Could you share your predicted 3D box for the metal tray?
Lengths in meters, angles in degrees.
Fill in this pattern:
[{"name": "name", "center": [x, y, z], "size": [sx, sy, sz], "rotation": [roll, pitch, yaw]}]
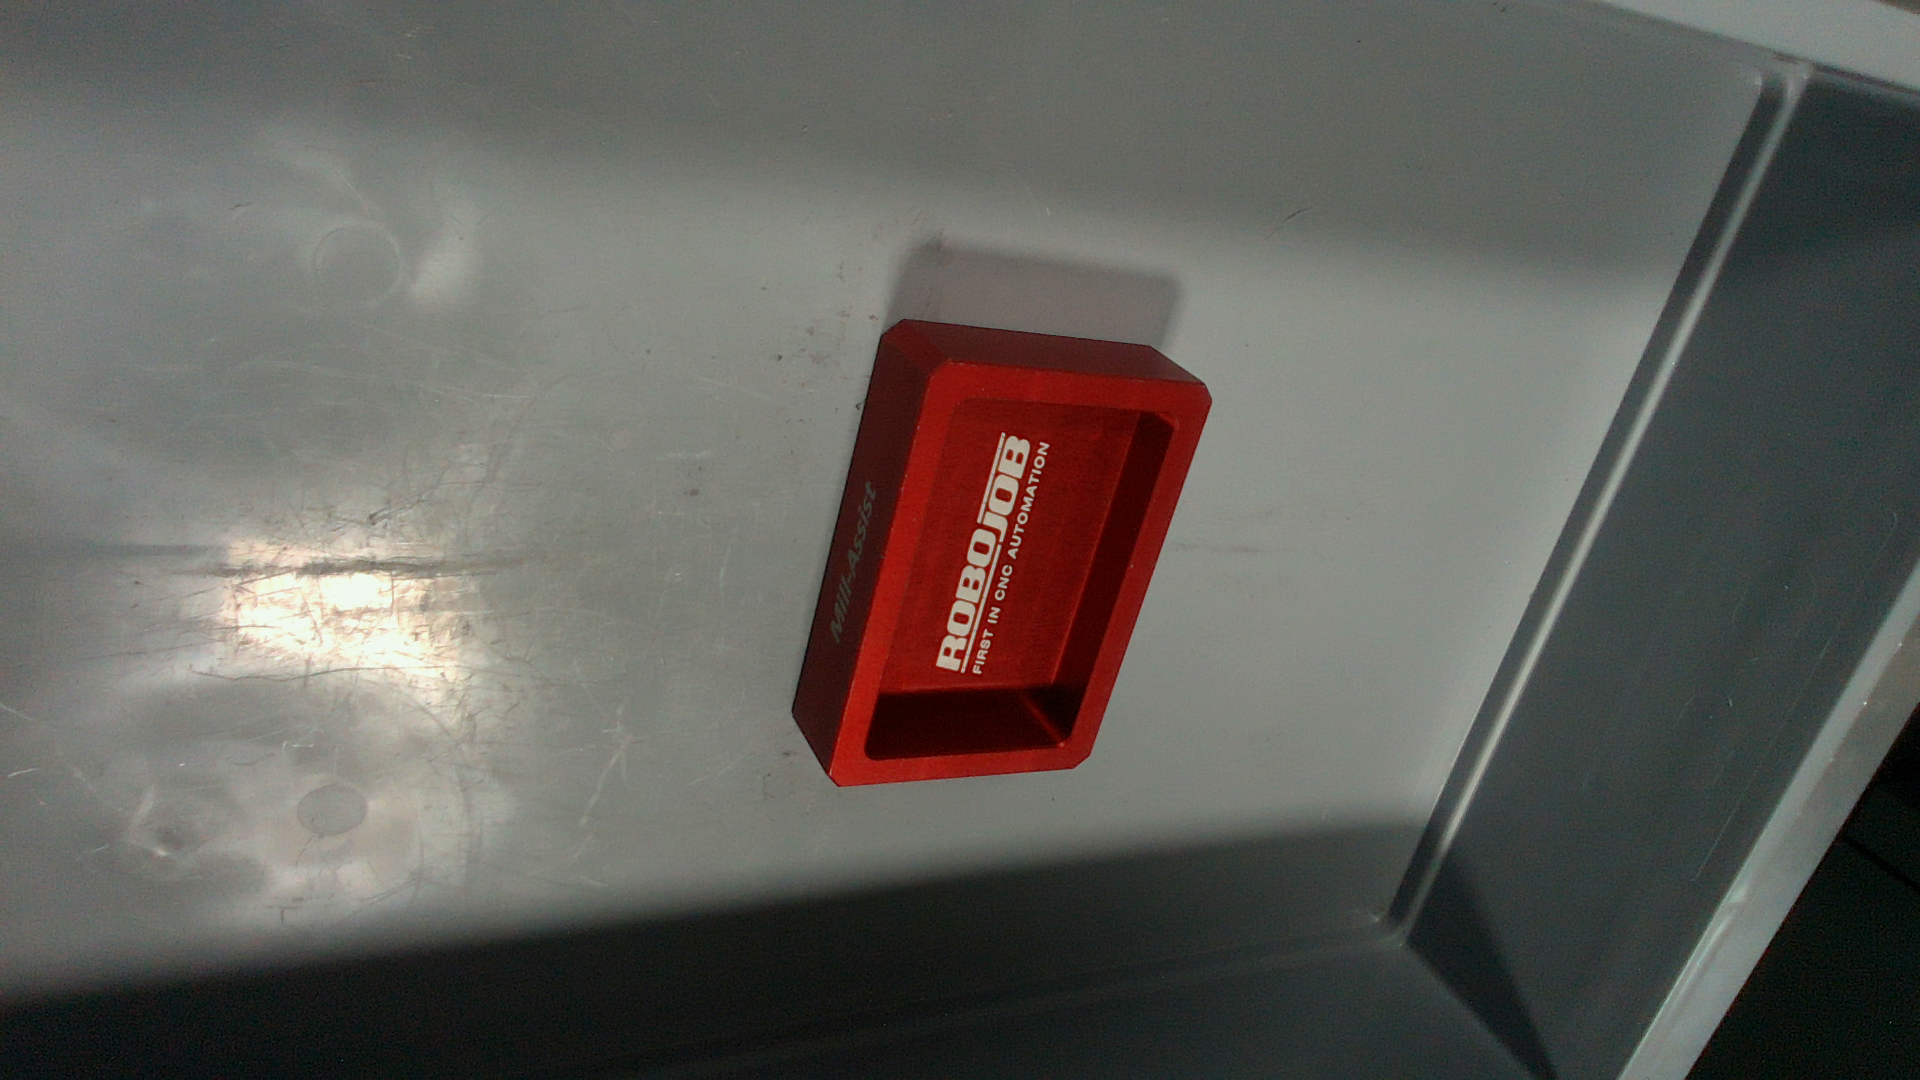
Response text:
[{"name": "metal tray", "center": [0.010, 0.007, 0.392], "size": [0.090, 0.030, 0.130], "rotation": [1, 117, -30]}]
